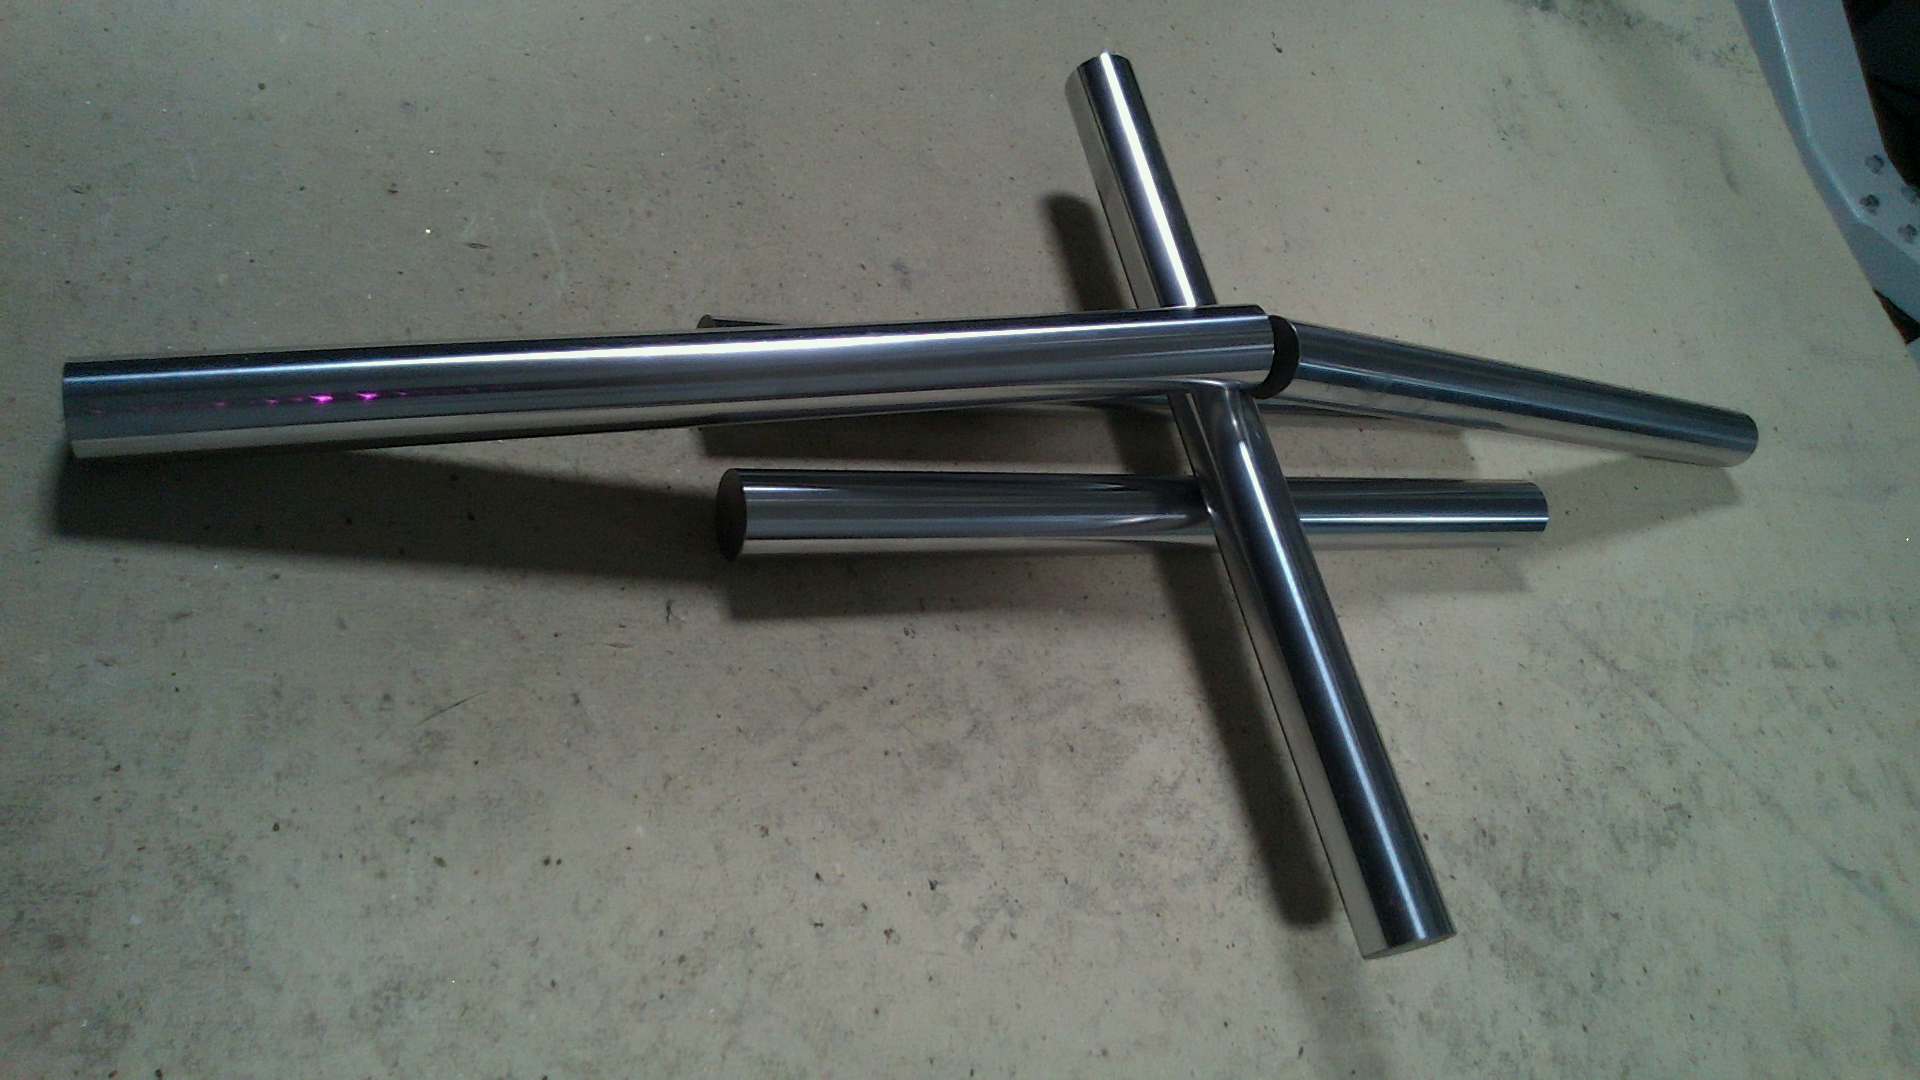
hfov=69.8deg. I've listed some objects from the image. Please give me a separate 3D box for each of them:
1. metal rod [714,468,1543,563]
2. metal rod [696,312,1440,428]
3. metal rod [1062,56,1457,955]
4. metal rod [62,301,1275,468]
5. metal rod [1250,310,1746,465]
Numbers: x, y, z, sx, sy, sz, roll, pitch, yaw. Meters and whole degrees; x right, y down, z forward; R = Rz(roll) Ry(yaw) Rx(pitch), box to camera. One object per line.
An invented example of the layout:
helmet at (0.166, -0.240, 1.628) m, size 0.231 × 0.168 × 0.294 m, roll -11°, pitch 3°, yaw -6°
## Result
metal rod at (0.072, -0.008, 0.433) m, size 0.301 × 0.025 × 0.025 m, roll -1°, pitch 62°, yaw -29°
metal rod at (0.060, -0.053, 0.454) m, size 0.301 × 0.025 × 0.025 m, roll -1°, pitch 62°, yaw -29°
metal rod at (0.082, -0.028, 0.419) m, size 0.025 × 0.025 × 0.300 m, roll 0°, pitch 62°, yaw -28°
metal rod at (-0.054, -0.043, 0.355) m, size 0.301 × 0.025 × 0.025 m, roll -6°, pitch 64°, yaw -20°
metal rod at (0.208, -0.050, 0.500) m, size 0.301 × 0.025 × 0.025 m, roll 3°, pitch 60°, yaw -38°
